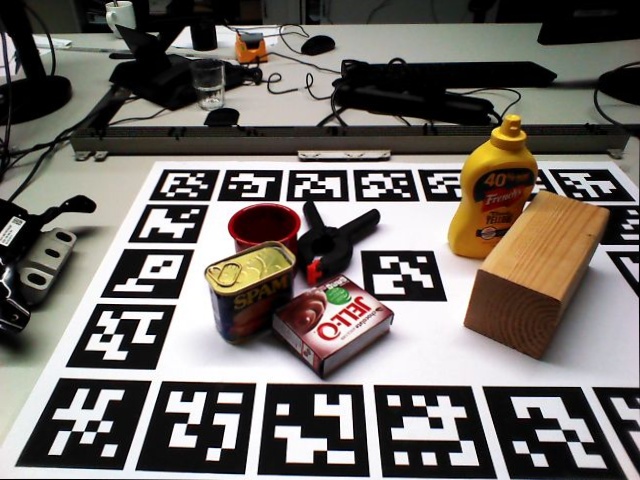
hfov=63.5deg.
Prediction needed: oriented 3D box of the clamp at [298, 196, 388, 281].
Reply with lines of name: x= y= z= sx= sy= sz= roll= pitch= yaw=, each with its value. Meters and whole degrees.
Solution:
clamp: x=0.017 y=-0.007 z=0.720 sx=0.122 sy=0.037 sz=0.164 roll=13 pitch=42 yaw=15

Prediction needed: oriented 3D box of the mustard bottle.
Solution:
mustard bottle: x=0.230 y=-0.073 z=0.664 sx=0.096 sy=0.192 sz=0.058 roll=-4 pitch=39 yaw=-2

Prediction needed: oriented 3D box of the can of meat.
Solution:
can of meat: x=-0.079 y=0.058 z=0.586 sx=0.101 sy=0.084 sz=0.058 roll=-20 pitch=43 yaw=-23

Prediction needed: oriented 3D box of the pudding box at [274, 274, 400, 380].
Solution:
pudding box: x=0.019 y=0.093 z=0.585 sx=0.113 sy=0.039 sz=0.090 roll=-26 pitch=45 yaw=-31

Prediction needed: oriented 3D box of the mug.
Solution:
mug: x=-0.066 y=0.014 z=0.688 sx=0.094 sy=0.082 sz=0.116 roll=14 pitch=42 yaw=18

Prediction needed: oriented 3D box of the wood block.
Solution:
wood block: x=0.271 y=0.034 z=0.617 sx=0.090 sy=0.091 sz=0.205 roll=24 pitch=43 yaw=31
